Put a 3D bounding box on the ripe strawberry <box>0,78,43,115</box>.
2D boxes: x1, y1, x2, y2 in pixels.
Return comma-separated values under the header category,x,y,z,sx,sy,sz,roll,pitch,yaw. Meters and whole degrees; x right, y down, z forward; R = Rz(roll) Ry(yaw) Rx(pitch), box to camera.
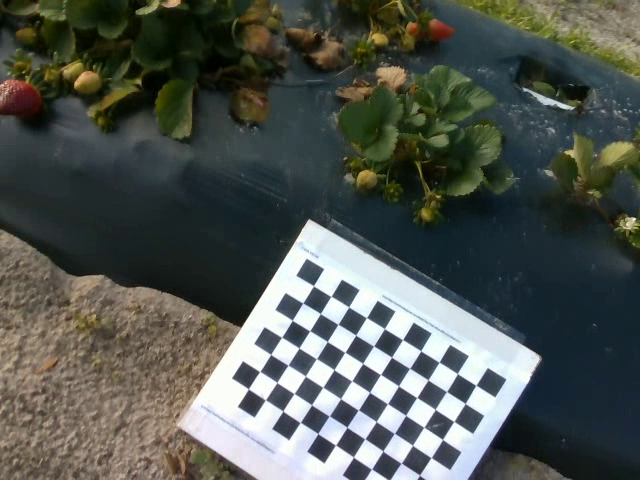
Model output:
category,x,y,z,sx,sy,sz,roll,pitch,yaw
ripe strawberry,-0.382,-0.180,0.995,0.052,0.045,0.068,27,40,6
